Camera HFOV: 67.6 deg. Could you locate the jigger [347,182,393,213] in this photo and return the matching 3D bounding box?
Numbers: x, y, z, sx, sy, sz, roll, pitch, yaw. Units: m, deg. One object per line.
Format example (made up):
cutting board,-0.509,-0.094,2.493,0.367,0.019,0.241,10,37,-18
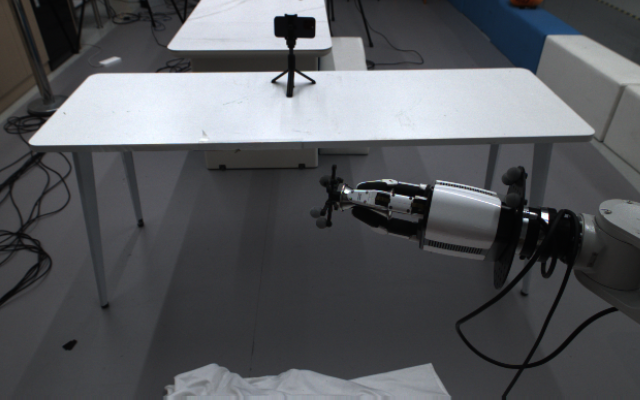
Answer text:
jigger,0.071,-0.003,0.661,0.071,0.043,0.043,7,35,16
